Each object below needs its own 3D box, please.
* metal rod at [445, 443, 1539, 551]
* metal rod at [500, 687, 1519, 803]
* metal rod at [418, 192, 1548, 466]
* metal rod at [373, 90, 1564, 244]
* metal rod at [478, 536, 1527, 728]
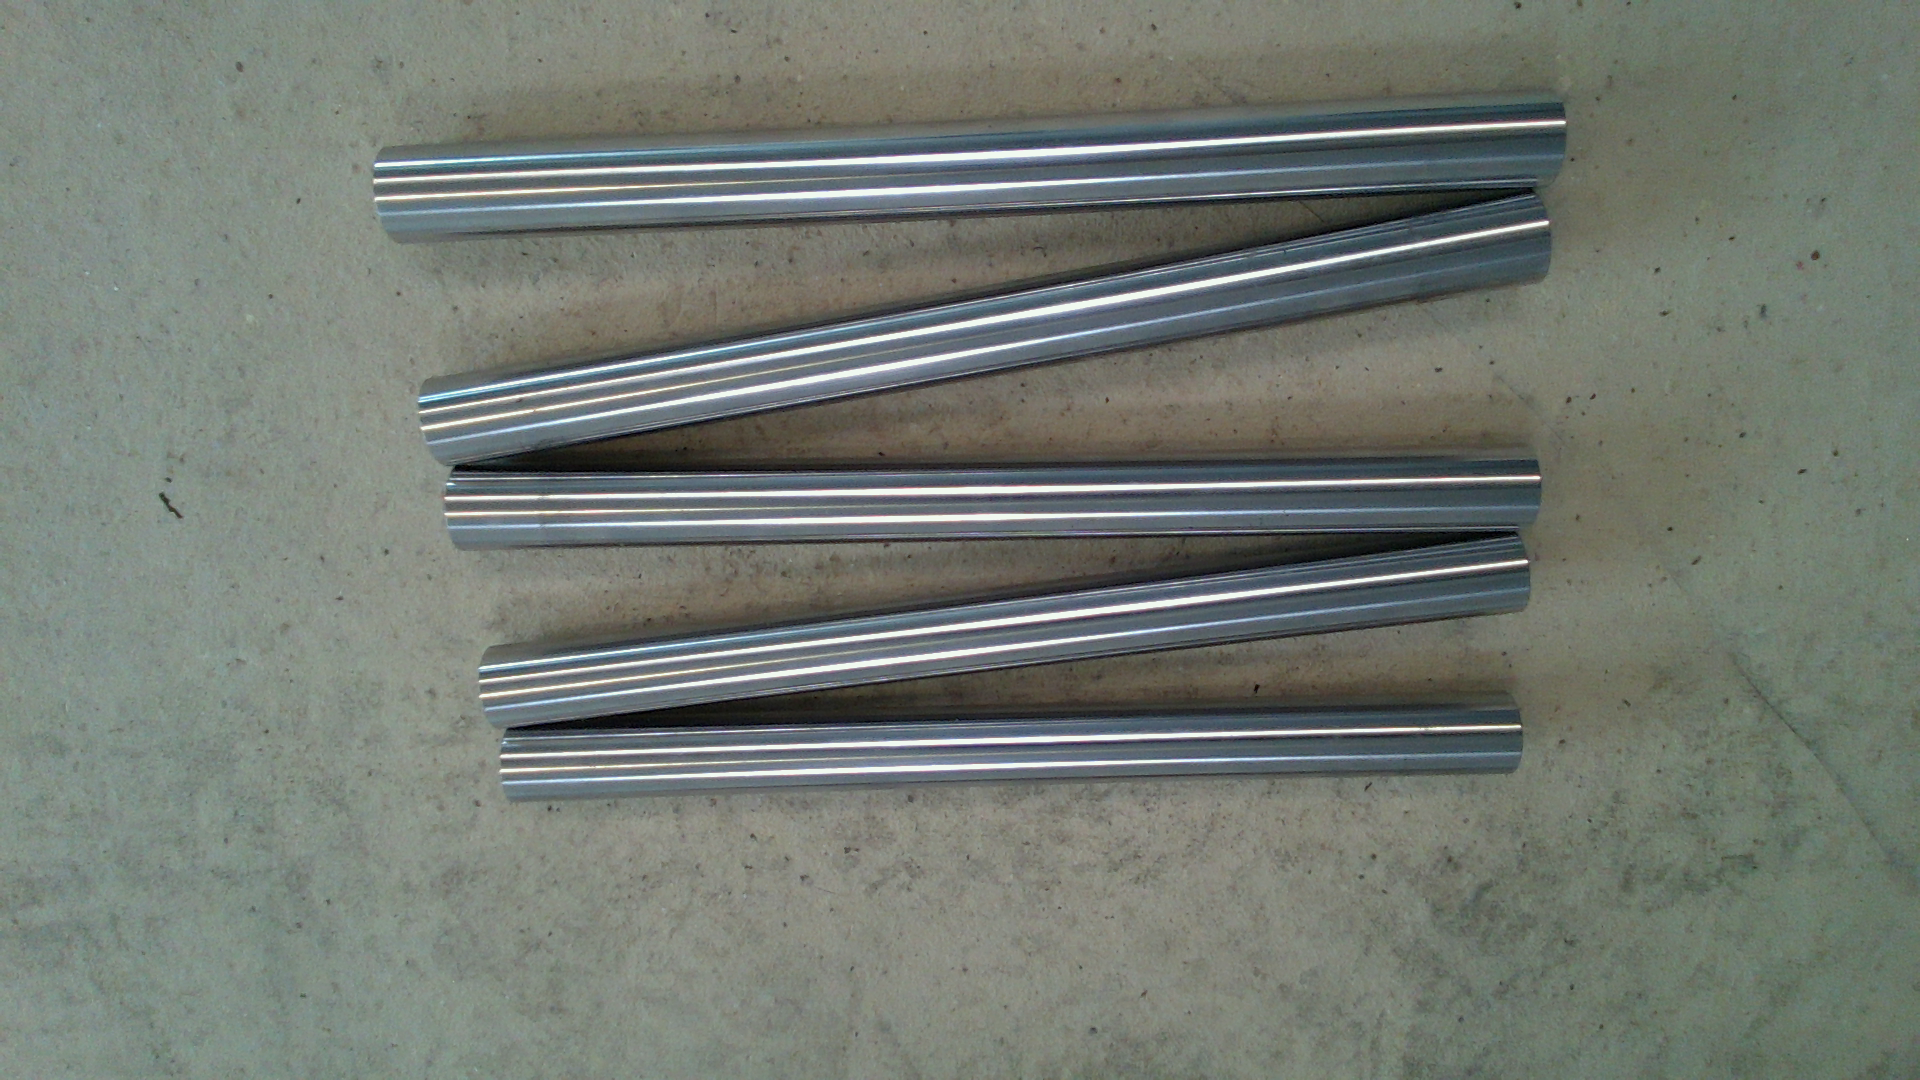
[{"bbox_3d":[0.009,-0.012,0.390,0.300,0.025,0.025,-1,110,0],"label":"metal rod"},{"bbox_3d":[0.014,0.062,0.417,0.300,0.025,0.025,-2,110,0],"label":"metal rod"},{"bbox_3d":[0.003,-0.057,0.373,0.300,0.025,0.025,-9,110,3],"label":"metal rod"},{"bbox_3d":[0.002,-0.097,0.358,0.300,0.025,0.025,-3,110,1],"label":"metal rod"},{"bbox_3d":[0.010,0.026,0.404,0.300,0.025,0.025,-7,110,2],"label":"metal rod"}]
